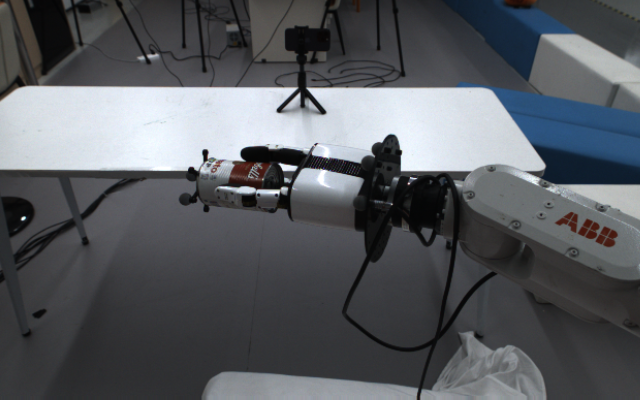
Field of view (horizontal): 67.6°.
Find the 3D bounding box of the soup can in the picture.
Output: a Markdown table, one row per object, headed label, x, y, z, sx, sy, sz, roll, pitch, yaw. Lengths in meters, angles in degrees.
| label | x | y | z | sx | sy | sz | roll | pitch | yaw |
| --- | --- | --- | --- | --- | --- | --- | --- | --- | --- |
| soup can | -0.106 | -0.019 | 0.663 | 0.101 | 0.067 | 0.067 | 6 | 34 | 18 |
